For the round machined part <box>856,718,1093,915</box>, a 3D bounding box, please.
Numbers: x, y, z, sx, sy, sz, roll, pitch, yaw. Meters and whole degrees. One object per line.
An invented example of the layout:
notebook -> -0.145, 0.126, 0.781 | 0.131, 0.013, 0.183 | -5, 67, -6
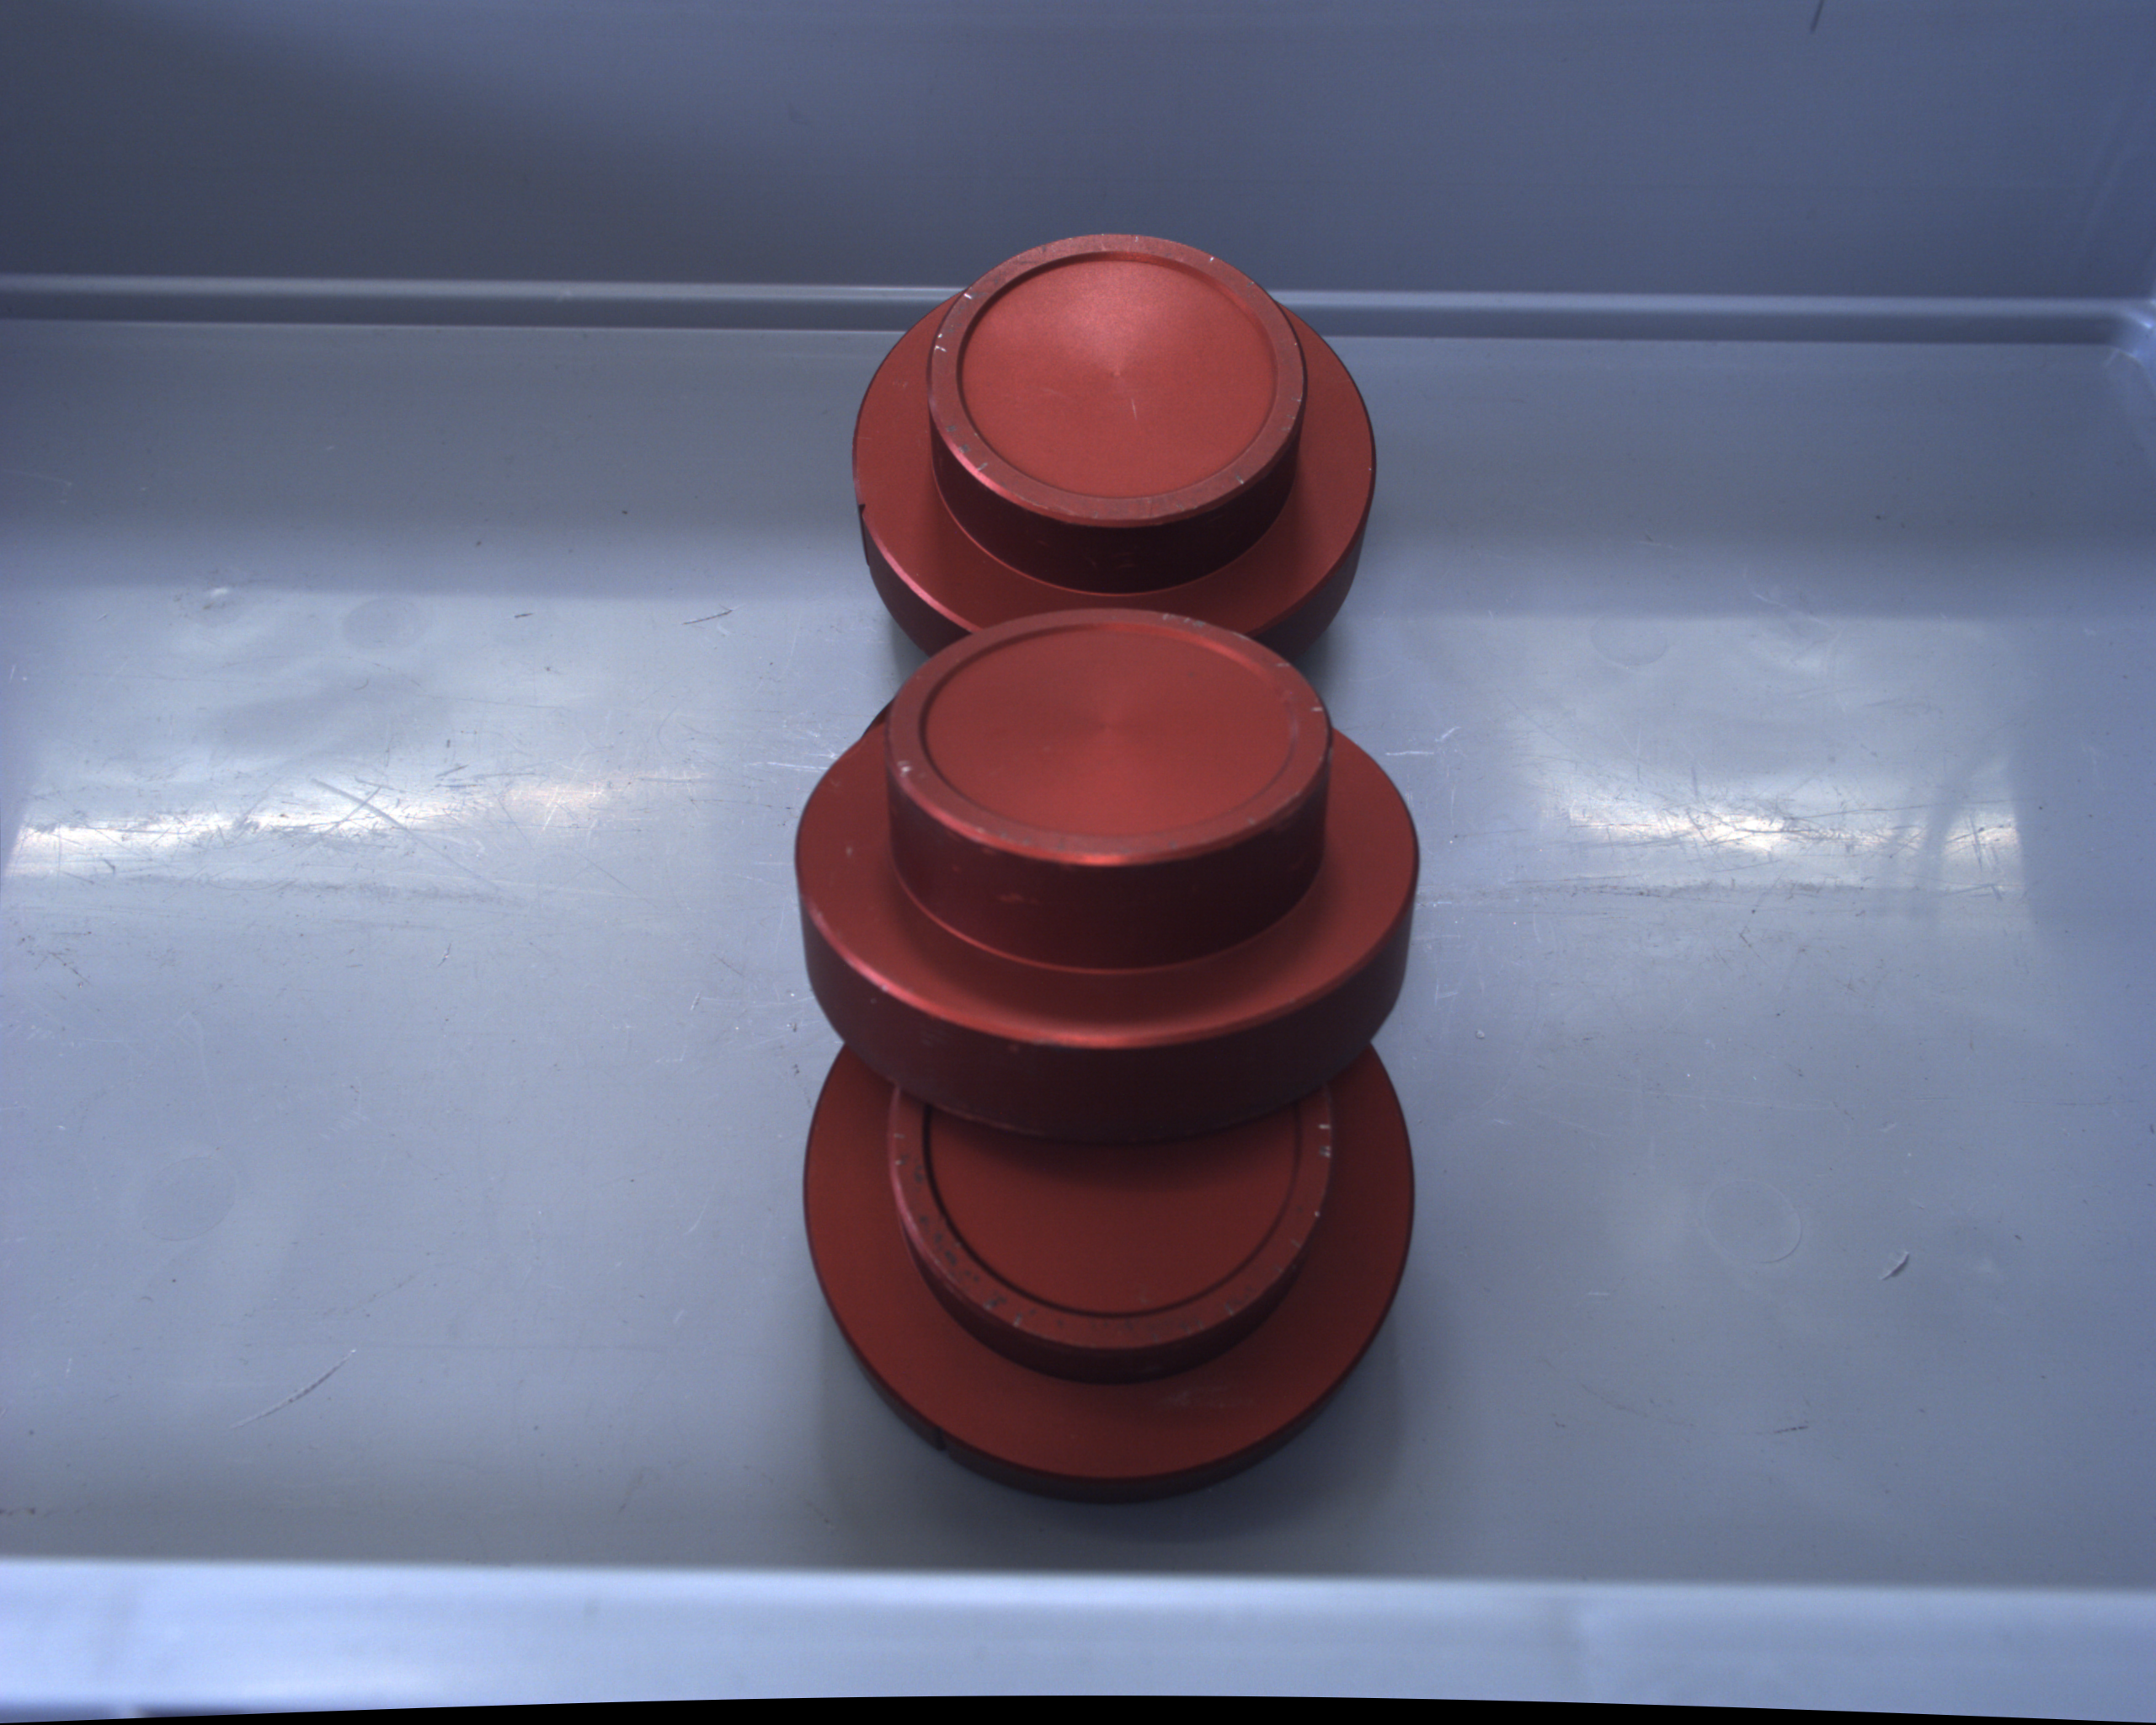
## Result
round machined part -> 0.003, -0.013, 0.403 | 0.099, 0.042, 0.098 | 0, 49, 0

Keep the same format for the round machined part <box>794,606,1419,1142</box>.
round machined part -> 0.005, -0.005, 0.330 | 0.099, 0.042, 0.098 | 0, 39, 0

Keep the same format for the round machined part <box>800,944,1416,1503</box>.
round machined part -> 0.005, 0.049, 0.333 | 0.099, 0.042, 0.098 | 0, 65, 0

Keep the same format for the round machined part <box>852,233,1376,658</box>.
round machined part -> 0.007, -0.078, 0.391 | 0.099, 0.042, 0.098 | 0, 62, 0

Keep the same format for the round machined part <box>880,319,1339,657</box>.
round machined part -> 0.007, -0.086, 0.450 | 0.099, 0.042, 0.098 | 0, 34, 0
